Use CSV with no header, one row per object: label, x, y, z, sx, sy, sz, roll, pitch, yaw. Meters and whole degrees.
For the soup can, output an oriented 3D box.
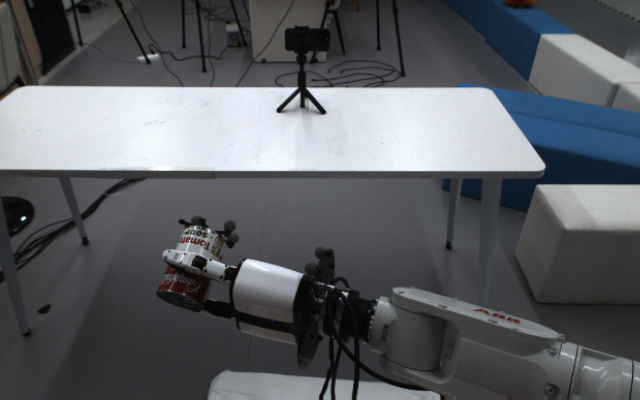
soup can,-0.178,0.098,0.683,0.067,0.067,0.101,9,60,10
